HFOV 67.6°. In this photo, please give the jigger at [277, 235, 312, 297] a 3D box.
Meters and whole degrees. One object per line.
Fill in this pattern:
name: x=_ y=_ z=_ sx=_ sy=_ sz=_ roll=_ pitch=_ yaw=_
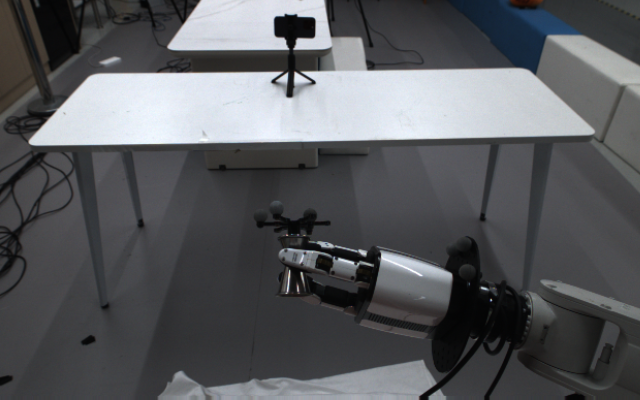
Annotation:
jigger: x=-0.030 y=0.076 z=0.566 sx=0.043 sy=0.043 sz=0.071 roll=0 pitch=75 yaw=-3
